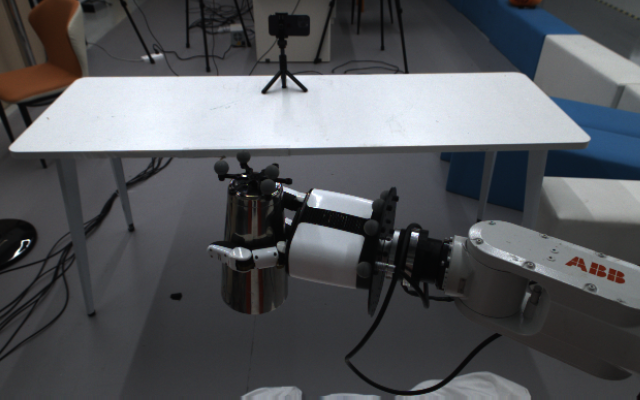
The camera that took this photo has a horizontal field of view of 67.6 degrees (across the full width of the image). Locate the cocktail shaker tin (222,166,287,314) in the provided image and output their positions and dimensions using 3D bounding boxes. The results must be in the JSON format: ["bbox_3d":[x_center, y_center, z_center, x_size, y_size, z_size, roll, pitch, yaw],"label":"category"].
[{"bbox_3d":[-0.083,0.053,0.624,0.093,0.170,0.093,4,32,-2],"label":"cocktail shaker tin"}]
